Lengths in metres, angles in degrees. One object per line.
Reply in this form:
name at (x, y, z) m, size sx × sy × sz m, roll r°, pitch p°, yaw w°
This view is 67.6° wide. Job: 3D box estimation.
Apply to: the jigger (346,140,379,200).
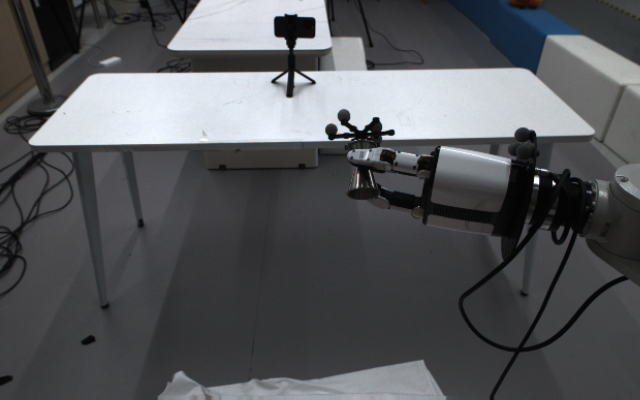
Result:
jigger at (0.055, -0.042, 0.626) m, size 0.043 × 0.043 × 0.071 m, roll 1°, pitch 70°, yaw -2°
